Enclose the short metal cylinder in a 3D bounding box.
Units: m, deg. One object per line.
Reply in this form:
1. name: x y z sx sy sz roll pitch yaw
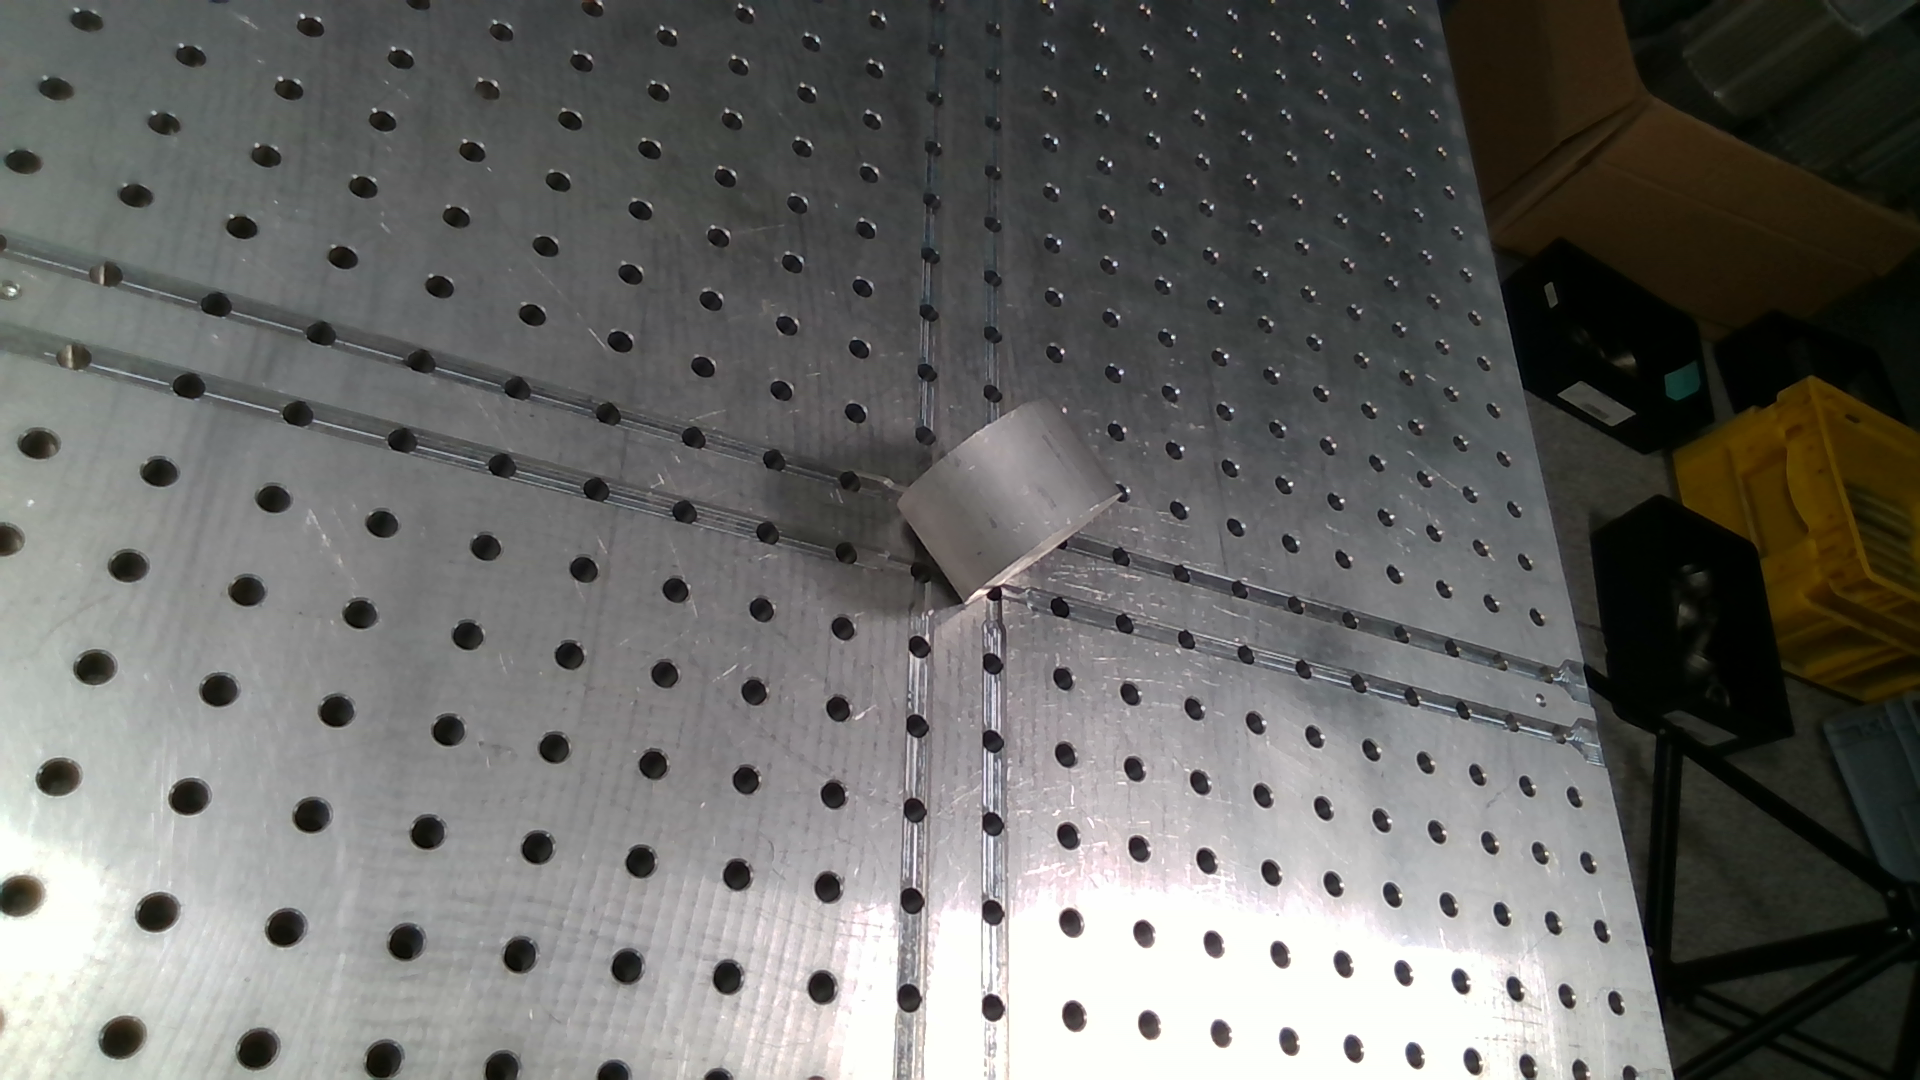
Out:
1. short metal cylinder: 0.020 -0.017 0.575 0.080 0.080 0.050 -31 83 -39
